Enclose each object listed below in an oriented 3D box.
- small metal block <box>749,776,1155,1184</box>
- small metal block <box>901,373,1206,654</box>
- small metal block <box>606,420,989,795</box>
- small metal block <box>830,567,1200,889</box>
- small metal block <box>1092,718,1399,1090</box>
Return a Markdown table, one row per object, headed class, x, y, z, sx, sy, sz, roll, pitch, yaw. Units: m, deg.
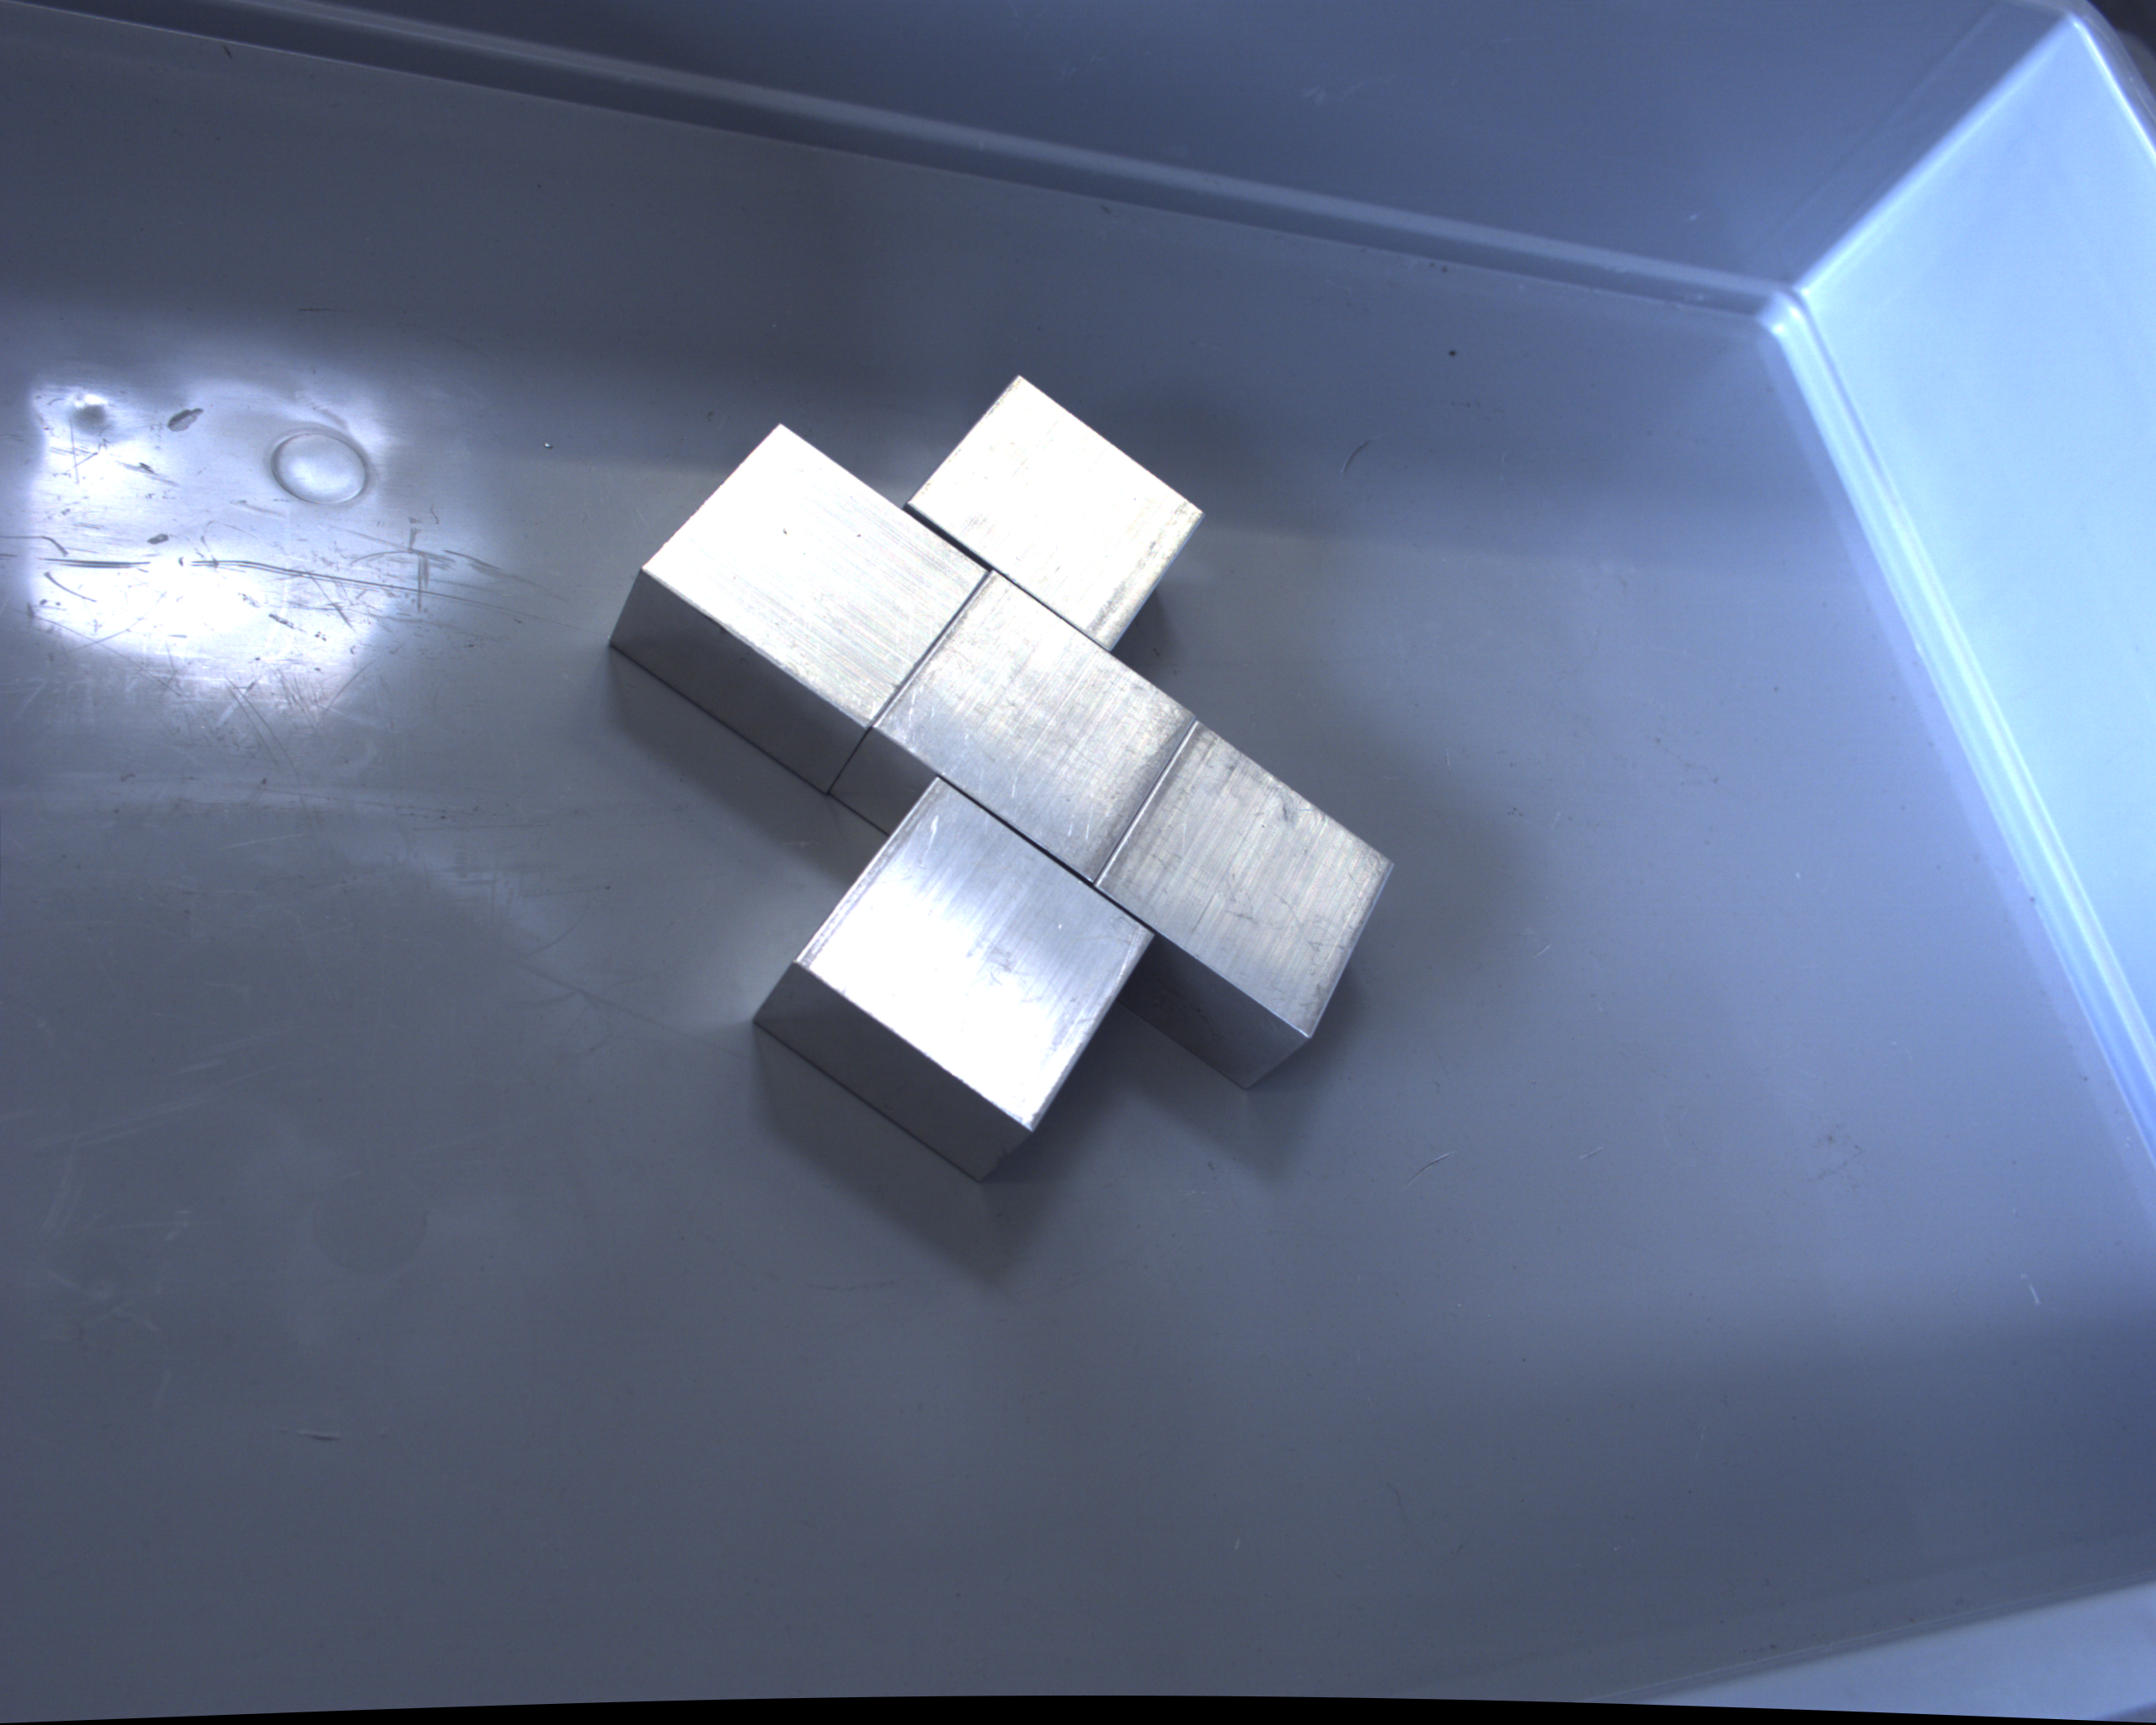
| class | x | y | z | sx | sy | sz | roll | pitch | yaw |
| --- | --- | --- | --- | --- | --- | --- | --- | --- | --- |
| small metal block | -0.022 | 0.021 | 0.379 | 0.050 | 0.025 | 0.050 | 37 | 52 | -4 |
| small metal block | -0.009 | -0.067 | 0.439 | 0.050 | 0.025 | 0.050 | 36 | 50 | -4 |
| small metal block | -0.054 | -0.050 | 0.404 | 0.050 | 0.025 | 0.050 | 36 | 51 | -5 |
| small metal block | -0.012 | -0.022 | 0.409 | 0.050 | 0.025 | 0.050 | 36 | 51 | -5 |
| small metal block | 0.029 | 0.008 | 0.413 | 0.050 | 0.025 | 0.050 | 36 | 51 | -5 |
